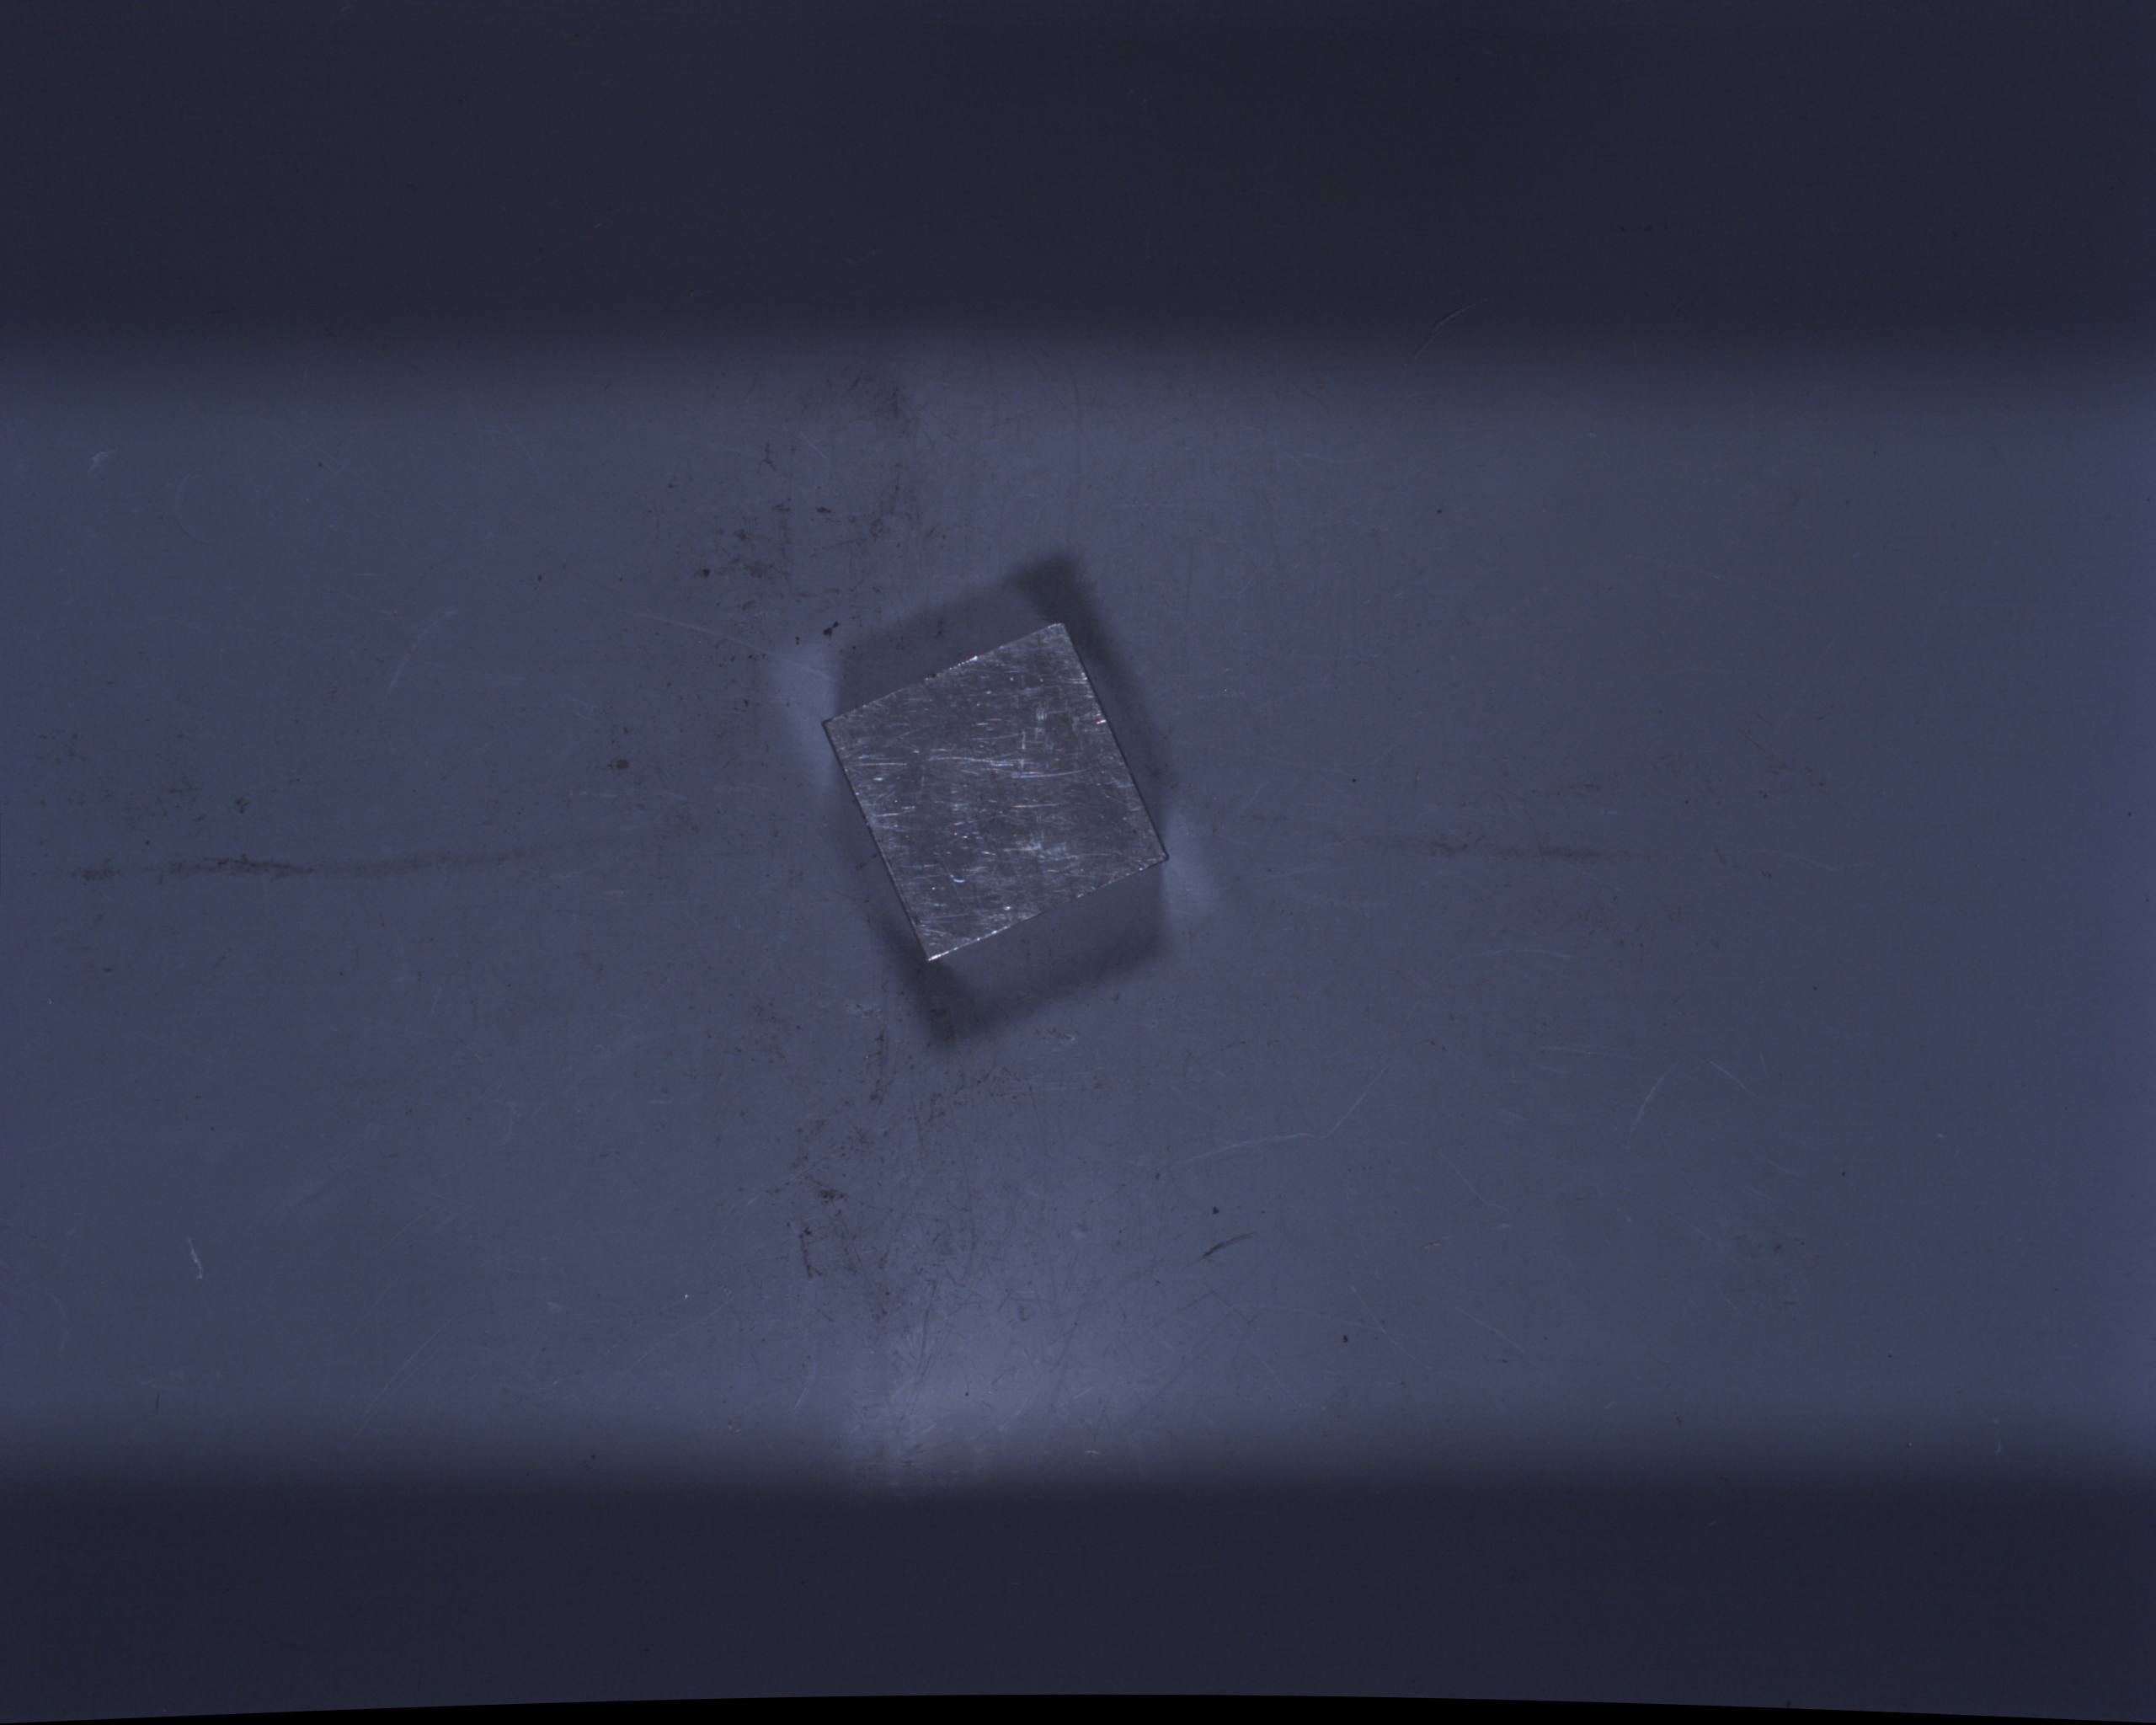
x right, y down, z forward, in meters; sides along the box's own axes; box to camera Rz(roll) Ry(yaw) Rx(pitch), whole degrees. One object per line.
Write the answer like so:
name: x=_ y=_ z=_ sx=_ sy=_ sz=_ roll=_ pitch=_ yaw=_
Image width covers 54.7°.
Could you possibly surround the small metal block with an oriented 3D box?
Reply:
small metal block: x=-0.016 y=-0.014 z=0.408 sx=0.050 sy=0.025 sz=0.050 roll=-23 pitch=90 yaw=-1
